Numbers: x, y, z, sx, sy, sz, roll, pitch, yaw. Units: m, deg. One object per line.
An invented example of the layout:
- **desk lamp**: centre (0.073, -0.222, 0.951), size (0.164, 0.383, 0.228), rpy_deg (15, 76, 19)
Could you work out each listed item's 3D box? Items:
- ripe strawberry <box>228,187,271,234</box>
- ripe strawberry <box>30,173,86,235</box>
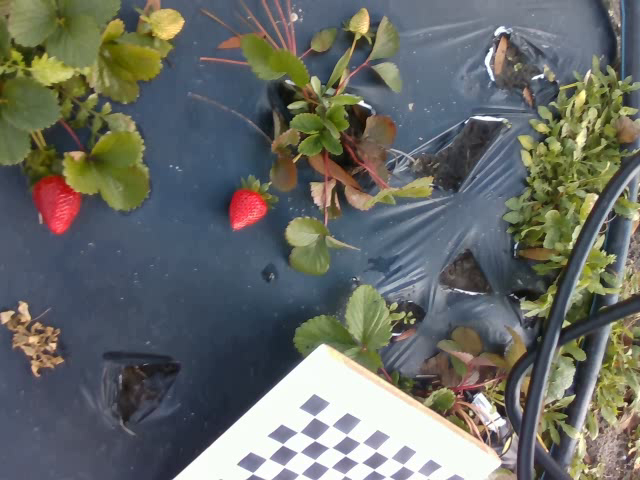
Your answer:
- **ripe strawberry**: centre (-0.072, -0.024, 0.492), size (0.041, 0.052, 0.045), rpy_deg (9, -37, 32)
- **ripe strawberry**: centre (-0.219, -0.025, 0.438), size (0.046, 0.050, 0.050), rpy_deg (-30, -45, 27)
